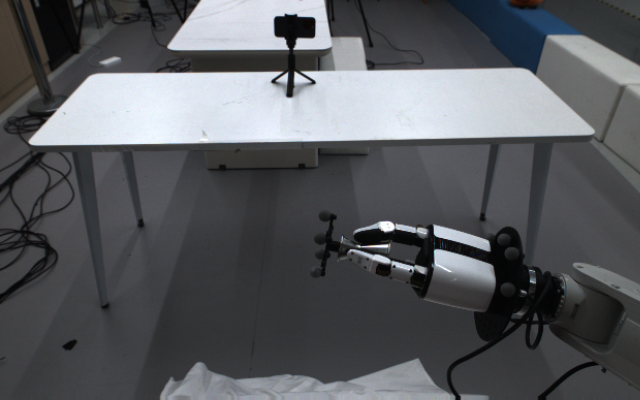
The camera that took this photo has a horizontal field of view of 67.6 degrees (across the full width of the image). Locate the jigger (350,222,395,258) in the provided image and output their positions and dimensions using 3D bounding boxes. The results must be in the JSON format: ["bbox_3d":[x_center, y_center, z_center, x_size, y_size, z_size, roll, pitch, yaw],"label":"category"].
[{"bbox_3d":[0.068,0.069,0.674,0.071,0.043,0.043,10,35,4],"label":"jigger"}]
